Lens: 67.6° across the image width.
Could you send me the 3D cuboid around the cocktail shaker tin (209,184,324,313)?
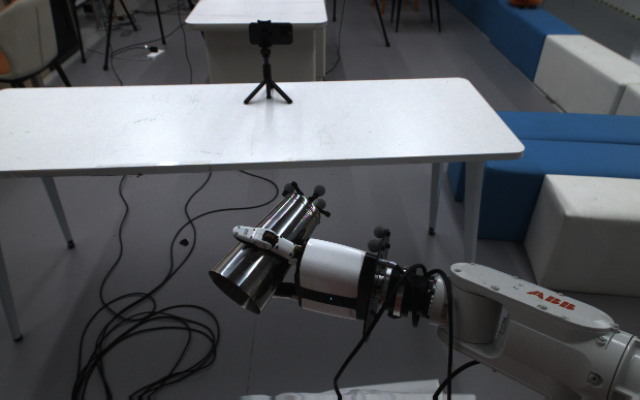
[{"bbox_3d":[-0.074,0.067,0.710,0.093,0.093,0.170,23,57,27],"label":"cocktail shaker tin"}]
